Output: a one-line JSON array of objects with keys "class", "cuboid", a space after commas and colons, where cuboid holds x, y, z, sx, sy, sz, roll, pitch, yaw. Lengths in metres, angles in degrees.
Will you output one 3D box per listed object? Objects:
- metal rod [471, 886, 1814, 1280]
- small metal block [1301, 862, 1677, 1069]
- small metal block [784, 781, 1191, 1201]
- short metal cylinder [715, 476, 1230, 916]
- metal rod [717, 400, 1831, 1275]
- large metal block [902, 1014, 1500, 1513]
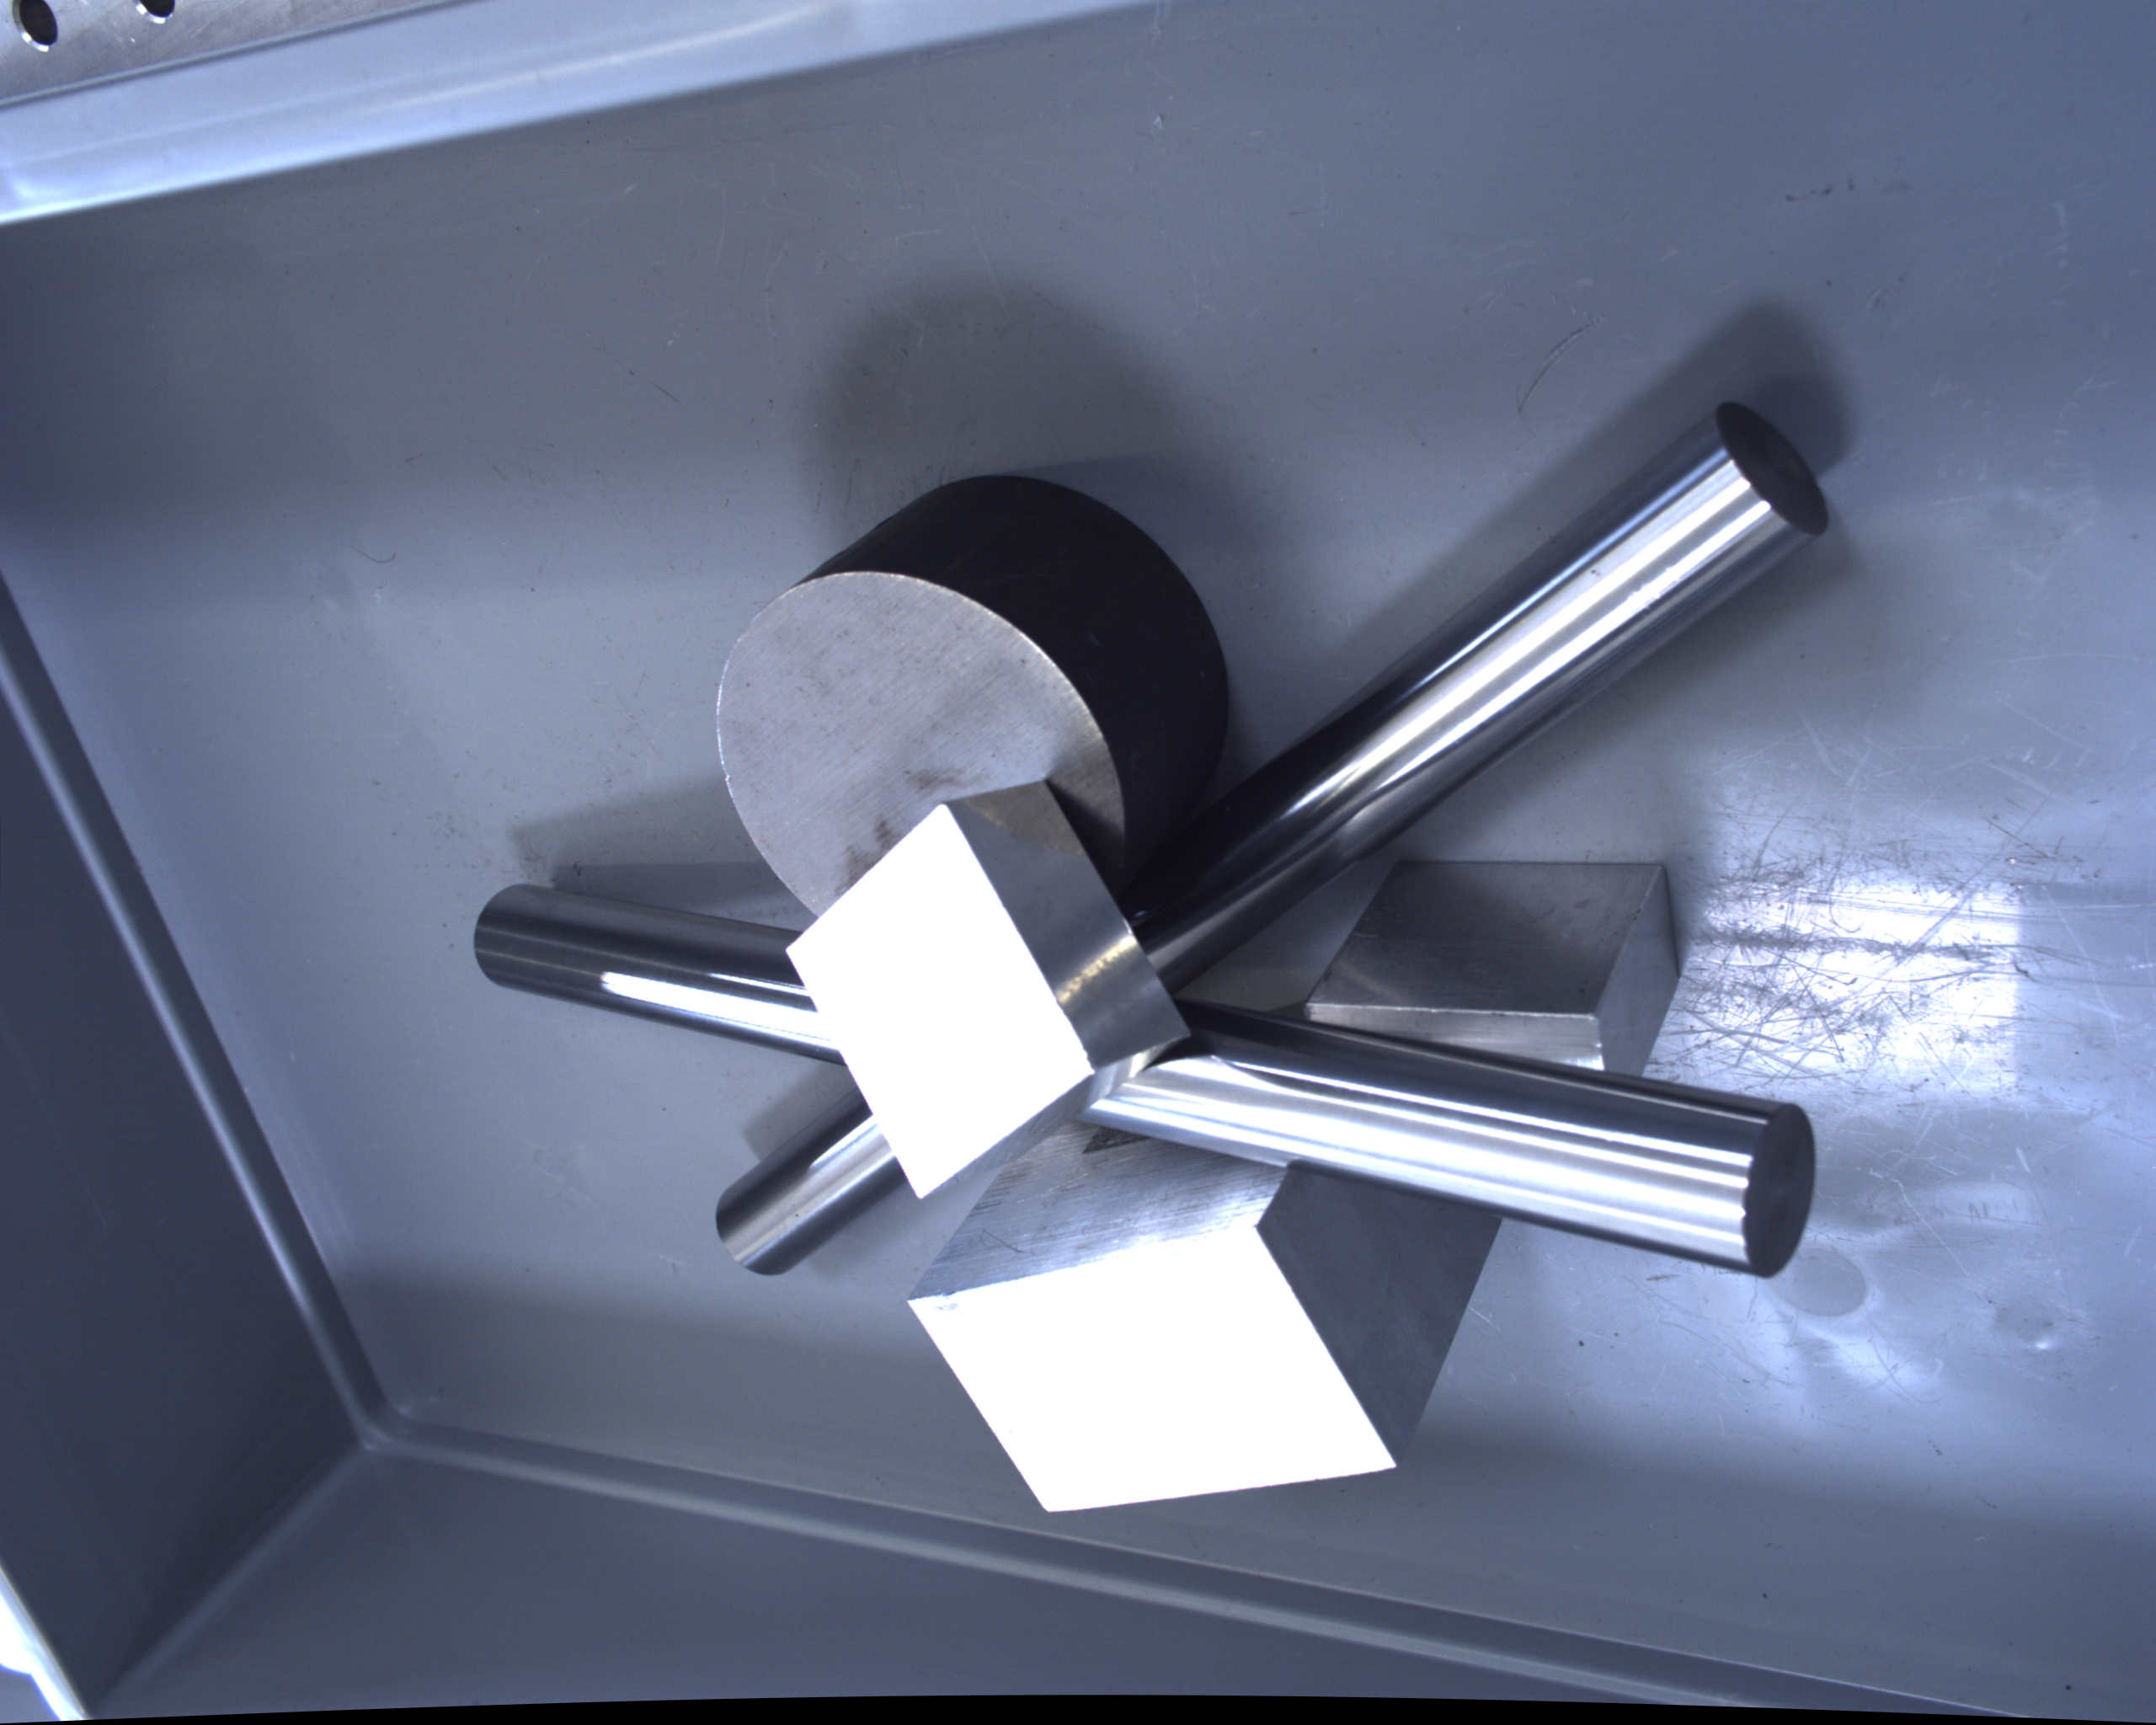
[{"class": "metal rod", "cuboid": [-0.016, 0.032, 0.389, 0.300, 0.025, 0.025, 7, 123, 40]}, {"class": "small metal block", "cuboid": [0.073, 0.023, 0.366, 0.050, 0.050, 0.025, 1, 119, 29]}, {"class": "small metal block", "cuboid": [-0.017, 0.022, 0.353, 0.050, 0.025, 0.050, -41, 73, 39]}, {"class": "short metal cylinder", "cuboid": [-0.019, -0.025, 0.385, 0.080, 0.050, 0.079, 13, 123, 21]}, {"class": "metal rod", "cuboid": [0.015, 0.014, 0.408, 0.025, 0.025, 0.299, 47, 129, -5]}, {"class": "large metal block", "cuboid": [0.027, 0.074, 0.401, 0.080, 0.080, 0.050, -19, 108, 35]}]
